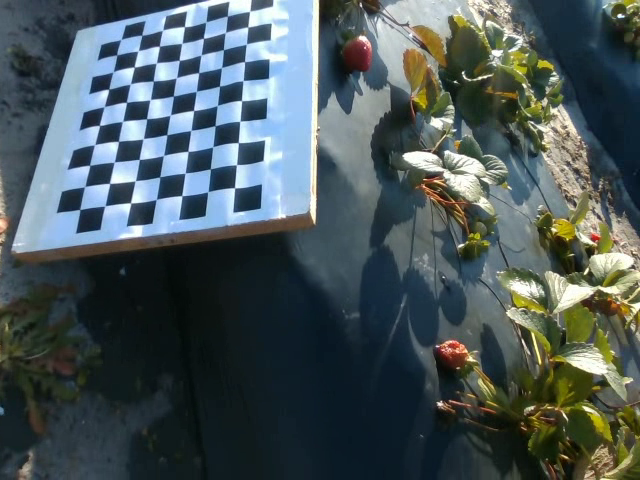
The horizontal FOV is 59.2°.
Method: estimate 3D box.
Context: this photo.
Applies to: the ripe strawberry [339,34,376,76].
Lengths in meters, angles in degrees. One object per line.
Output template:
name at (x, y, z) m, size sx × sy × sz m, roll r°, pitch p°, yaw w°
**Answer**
ripe strawberry at (0.049, -0.223, 0.676) m, size 0.045 × 0.064 × 0.044 m, roll -22°, pitch -28°, yaw 4°
